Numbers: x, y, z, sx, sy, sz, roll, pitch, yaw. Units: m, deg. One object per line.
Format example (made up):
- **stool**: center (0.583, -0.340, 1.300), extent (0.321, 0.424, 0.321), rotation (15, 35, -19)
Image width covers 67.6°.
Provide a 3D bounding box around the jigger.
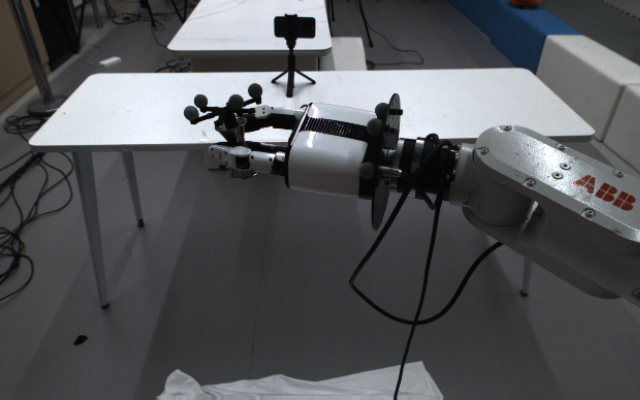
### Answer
- **jigger**: center (-0.103, -0.065, 0.605), extent (0.043, 0.071, 0.043), rotation (-10, 32, 6)
